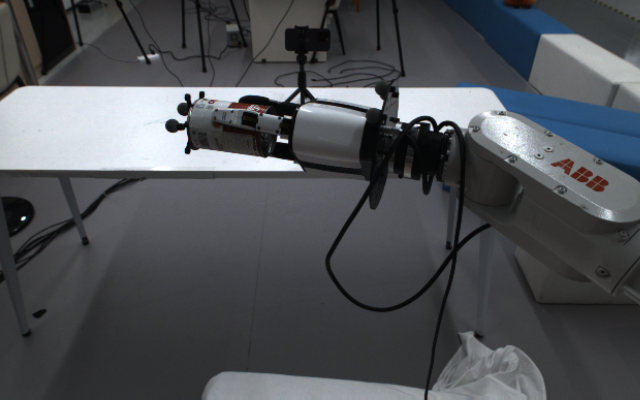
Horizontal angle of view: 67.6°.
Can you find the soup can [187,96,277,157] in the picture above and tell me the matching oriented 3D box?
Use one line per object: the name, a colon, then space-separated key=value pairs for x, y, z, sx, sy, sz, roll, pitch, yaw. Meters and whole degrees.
soup can: x=-0.112 y=-0.095 z=0.636 sx=0.101 sy=0.067 sz=0.067 roll=8 pitch=35 yaw=11
